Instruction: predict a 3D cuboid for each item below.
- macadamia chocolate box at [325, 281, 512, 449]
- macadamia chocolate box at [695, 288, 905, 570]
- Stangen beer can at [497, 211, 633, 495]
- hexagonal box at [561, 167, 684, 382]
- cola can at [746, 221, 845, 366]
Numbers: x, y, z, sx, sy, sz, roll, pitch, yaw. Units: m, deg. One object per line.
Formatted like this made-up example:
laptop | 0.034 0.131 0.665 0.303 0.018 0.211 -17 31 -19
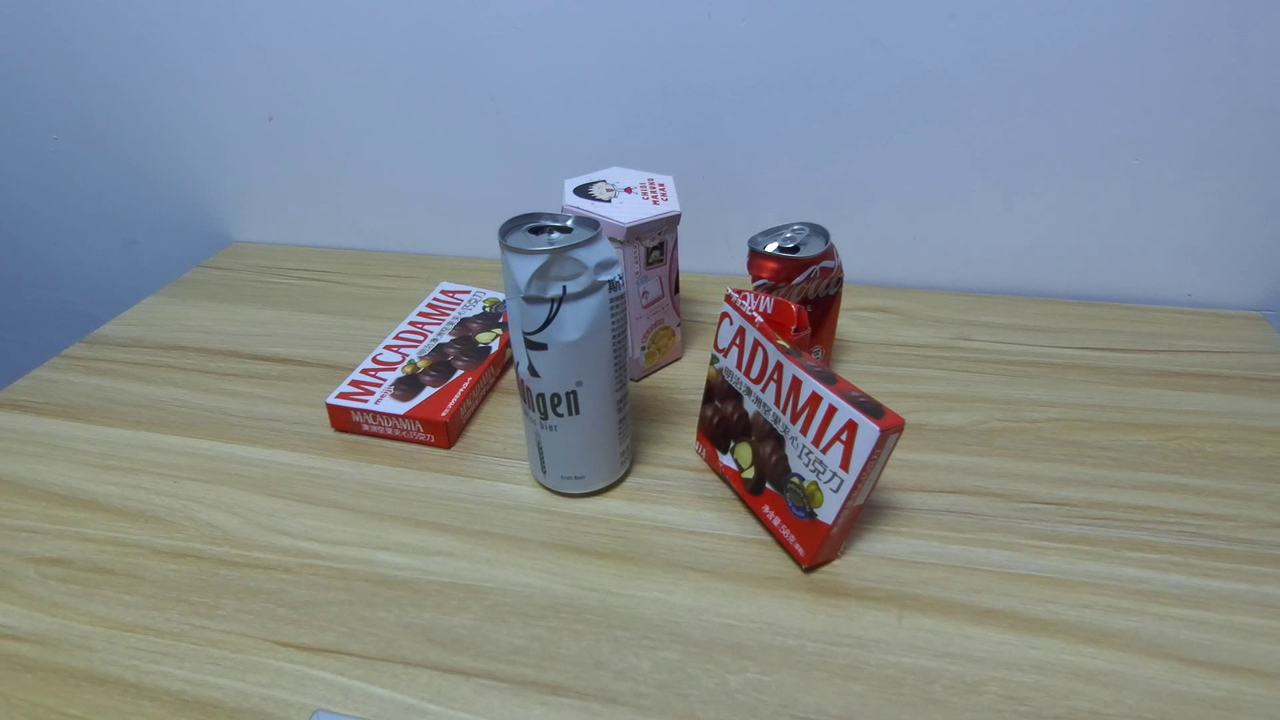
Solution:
macadamia chocolate box | -0.147 -0.006 0.549 0.102 0.027 0.187 8 37 11
macadamia chocolate box | 0.082 0.035 0.396 0.056 0.112 0.126 -16 37 -20
Stangen beer can | -0.041 0.000 0.411 0.066 0.166 0.065 -12 34 -12
hexagonal box | -0.013 -0.063 0.520 0.085 0.135 0.092 -5 35 -3
cola can | 0.104 -0.036 0.493 0.069 0.113 0.065 -8 37 -5
